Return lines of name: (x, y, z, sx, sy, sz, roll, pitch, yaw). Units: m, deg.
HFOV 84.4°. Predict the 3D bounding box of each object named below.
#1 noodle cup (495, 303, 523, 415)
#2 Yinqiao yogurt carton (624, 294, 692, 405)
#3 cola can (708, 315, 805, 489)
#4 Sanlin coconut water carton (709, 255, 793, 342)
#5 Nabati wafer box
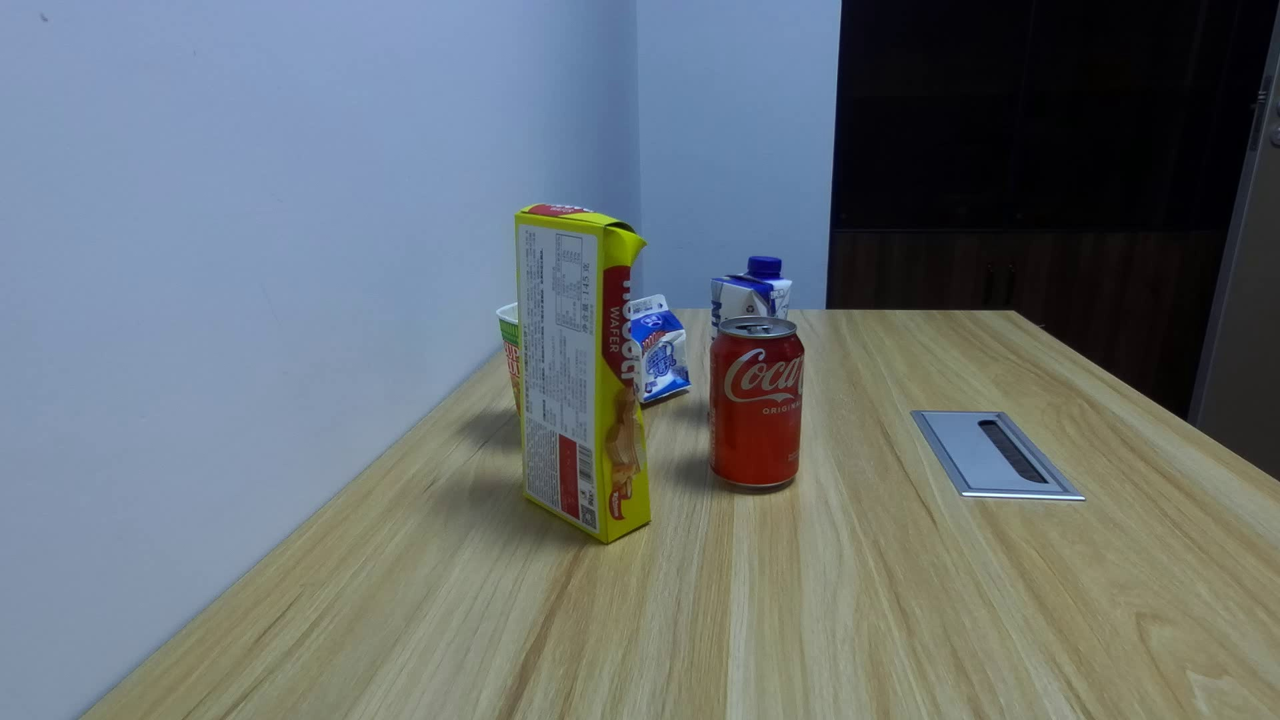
noodle cup: (-0.086, 0.000, 0.669, 0.075, 0.122, 0.083, -2, 23, 45)
Yinqiao yogurt carton: (0.003, -0.012, 0.693, 0.078, 0.094, 0.070, -17, 18, -41)
cola can: (0.085, 0.029, 0.513, 0.068, 0.120, 0.068, 0, 18, 0)
Sanlin coconut water carton: (0.095, -0.016, 0.612, 0.061, 0.144, 0.060, -15, 23, -36)
Nabati wafer box: (-0.035, 0.007, 0.452, 0.042, 0.204, 0.106, -15, 22, -40)
